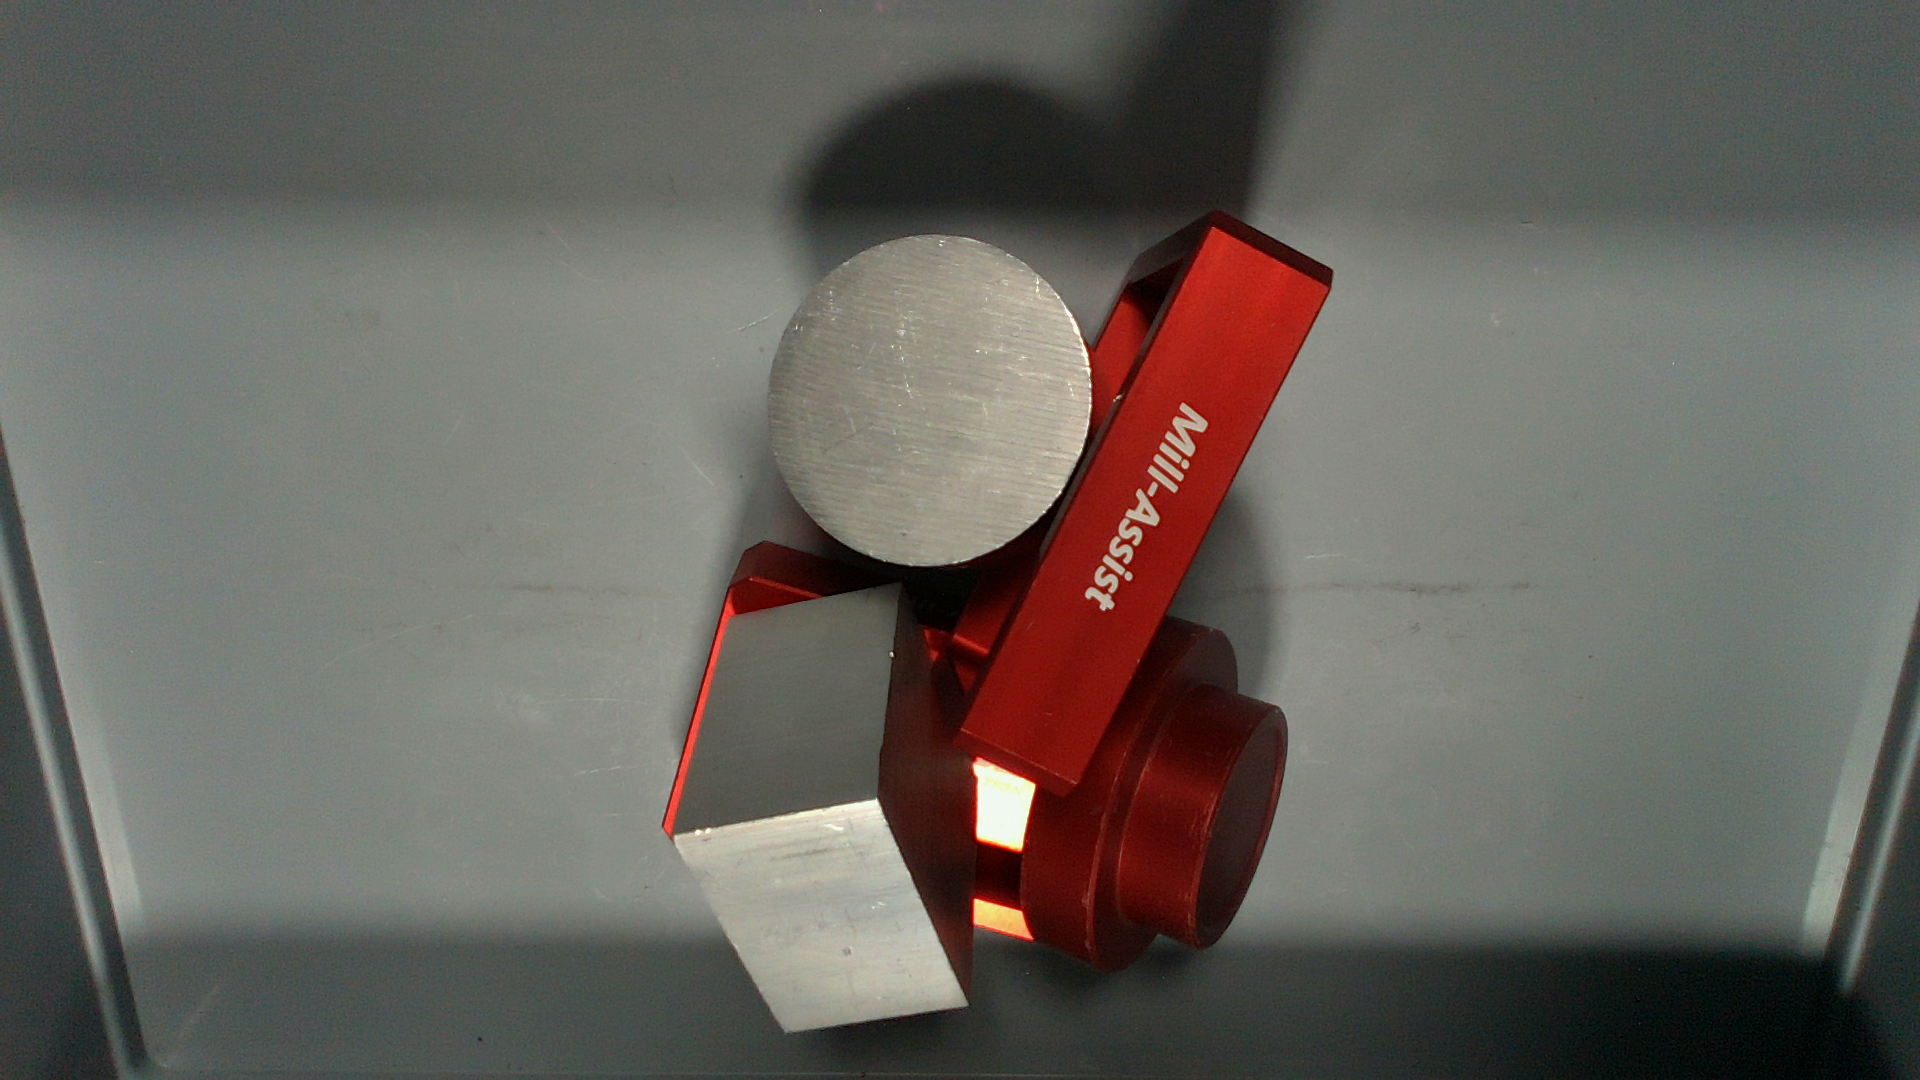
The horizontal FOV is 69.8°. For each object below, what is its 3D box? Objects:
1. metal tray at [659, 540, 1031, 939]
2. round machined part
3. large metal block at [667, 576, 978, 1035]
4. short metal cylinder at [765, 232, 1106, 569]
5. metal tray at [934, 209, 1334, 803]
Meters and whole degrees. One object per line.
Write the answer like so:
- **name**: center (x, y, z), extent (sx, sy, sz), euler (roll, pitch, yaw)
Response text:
- **metal tray**: center (-0.015, 0.062, 0.412), extent (0.130, 0.030, 0.090), euler (16, 109, -6)
- **round machined part**: center (0.059, 0.072, 0.377), extent (0.042, 0.098, 0.098), euler (17, 113, 26)
- **large metal block**: center (-0.031, 0.070, 0.364), extent (0.050, 0.080, 0.080), euler (-12, 126, 11)
- **short metal cylinder**: center (-0.003, -0.032, 0.352), extent (0.080, 0.050, 0.080), euler (-1, 87, 11)
- **metal tray**: center (0.037, -0.010, 0.338), extent (0.030, 0.090, 0.130), euler (26, 93, -6)
